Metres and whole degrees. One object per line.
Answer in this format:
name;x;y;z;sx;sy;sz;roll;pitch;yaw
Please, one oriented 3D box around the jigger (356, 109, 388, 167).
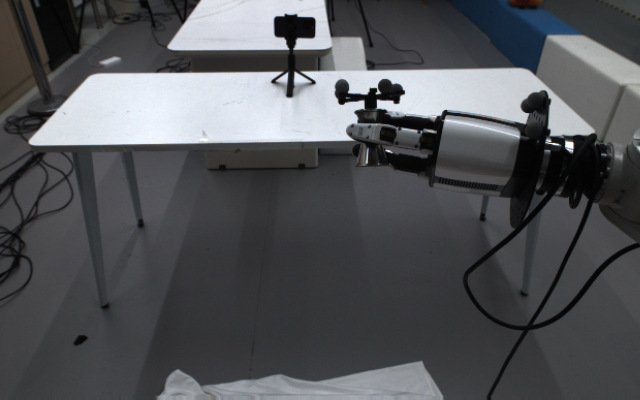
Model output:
jigger;0.063;-0.076;0.598;0.043;0.071;0.043;-2;3;0
